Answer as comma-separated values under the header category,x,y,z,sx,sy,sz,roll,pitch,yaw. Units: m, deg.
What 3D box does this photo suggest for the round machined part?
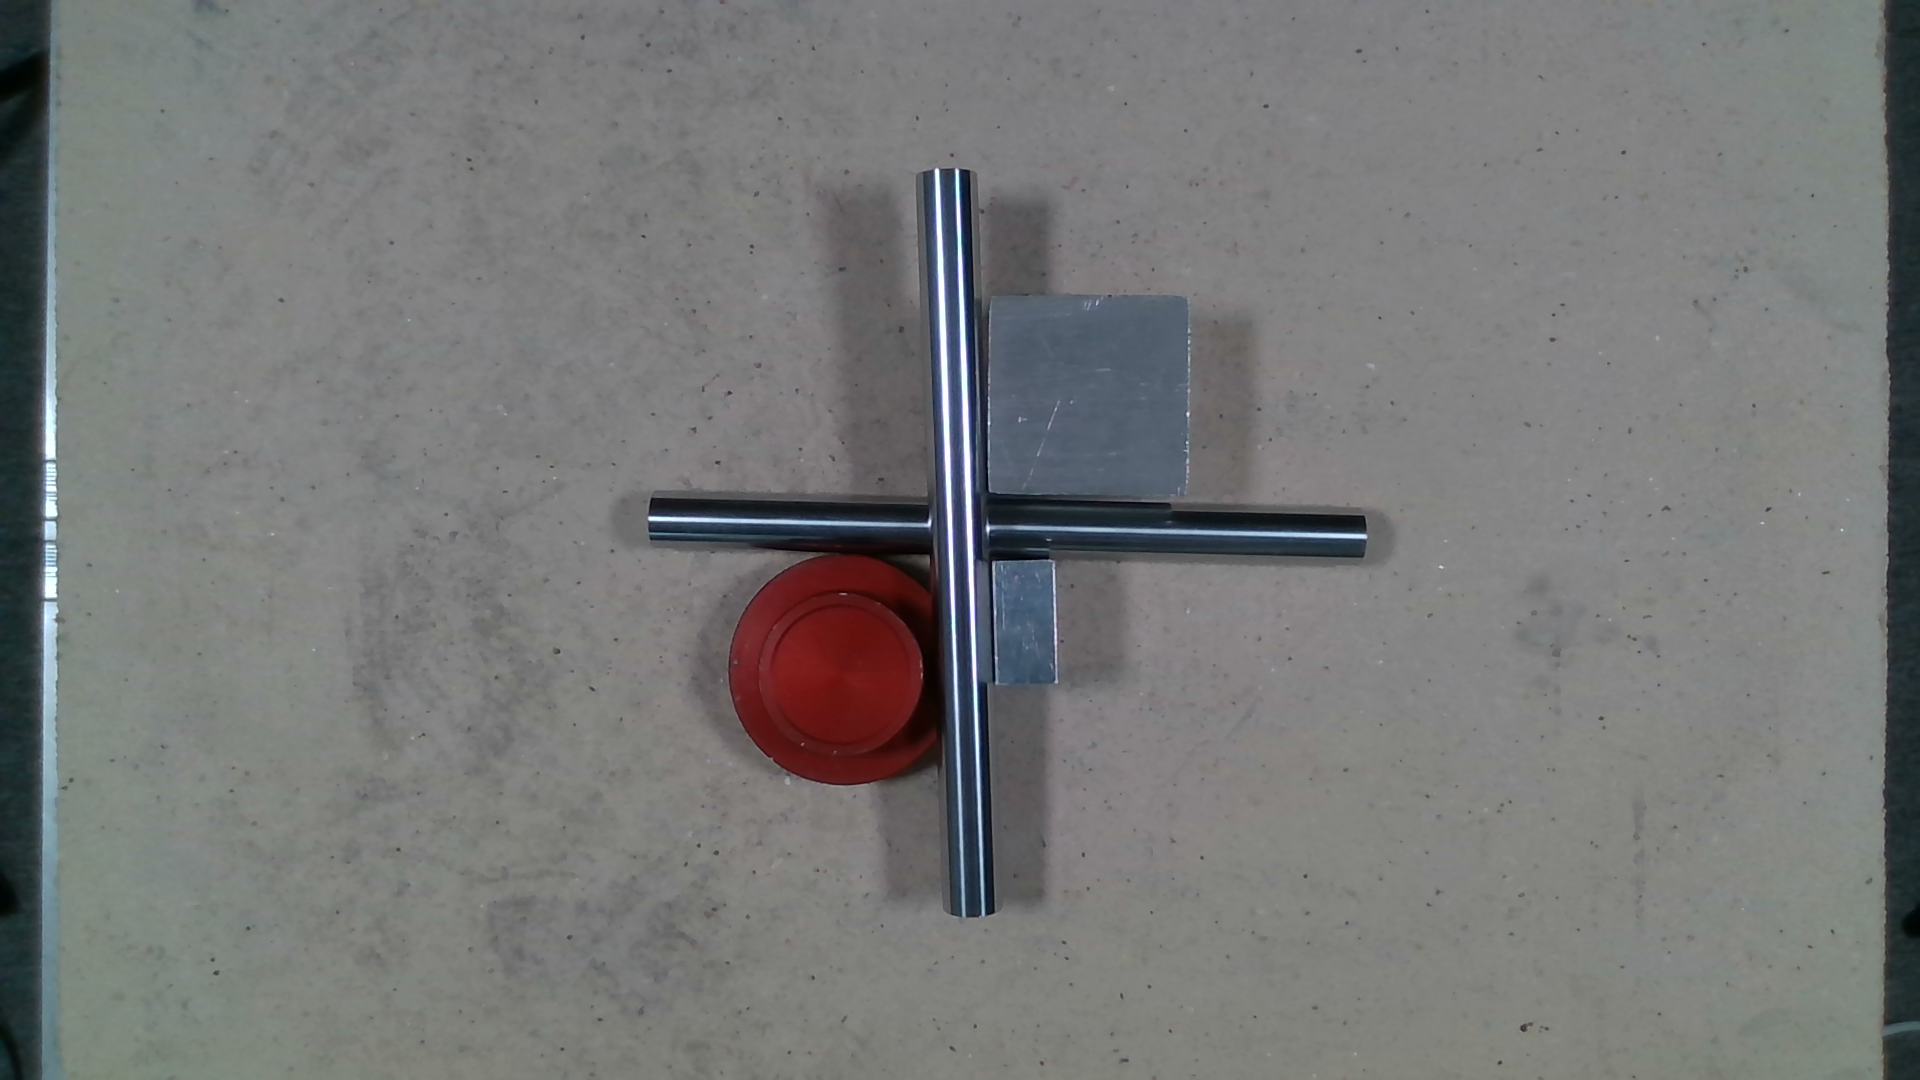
category,x,y,z,sx,sy,sz,roll,pitch,yaw
round machined part,-0.049,0.055,0.578,0.098,0.042,0.098,0,90,0

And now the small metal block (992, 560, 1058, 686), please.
category,x,y,z,sx,sy,sz,roll,pitch,yaw
small metal block,0.026,0.033,0.575,0.025,0.050,0.050,-1,90,0

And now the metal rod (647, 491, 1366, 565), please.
category,x,y,z,sx,sy,sz,roll,pitch,yaw
metal rod,0.019,-0.005,0.587,0.300,0.025,0.025,1,90,0

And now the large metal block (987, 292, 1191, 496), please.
category,x,y,z,sx,sy,sz,roll,pitch,yaw
large metal block,0.051,-0.058,0.573,0.080,0.050,0.080,1,90,0

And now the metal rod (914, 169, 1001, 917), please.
category,x,y,z,sx,sy,sz,roll,pitch,yaw
metal rod,-0.001,0.004,0.562,0.025,0.025,0.300,-2,94,0
